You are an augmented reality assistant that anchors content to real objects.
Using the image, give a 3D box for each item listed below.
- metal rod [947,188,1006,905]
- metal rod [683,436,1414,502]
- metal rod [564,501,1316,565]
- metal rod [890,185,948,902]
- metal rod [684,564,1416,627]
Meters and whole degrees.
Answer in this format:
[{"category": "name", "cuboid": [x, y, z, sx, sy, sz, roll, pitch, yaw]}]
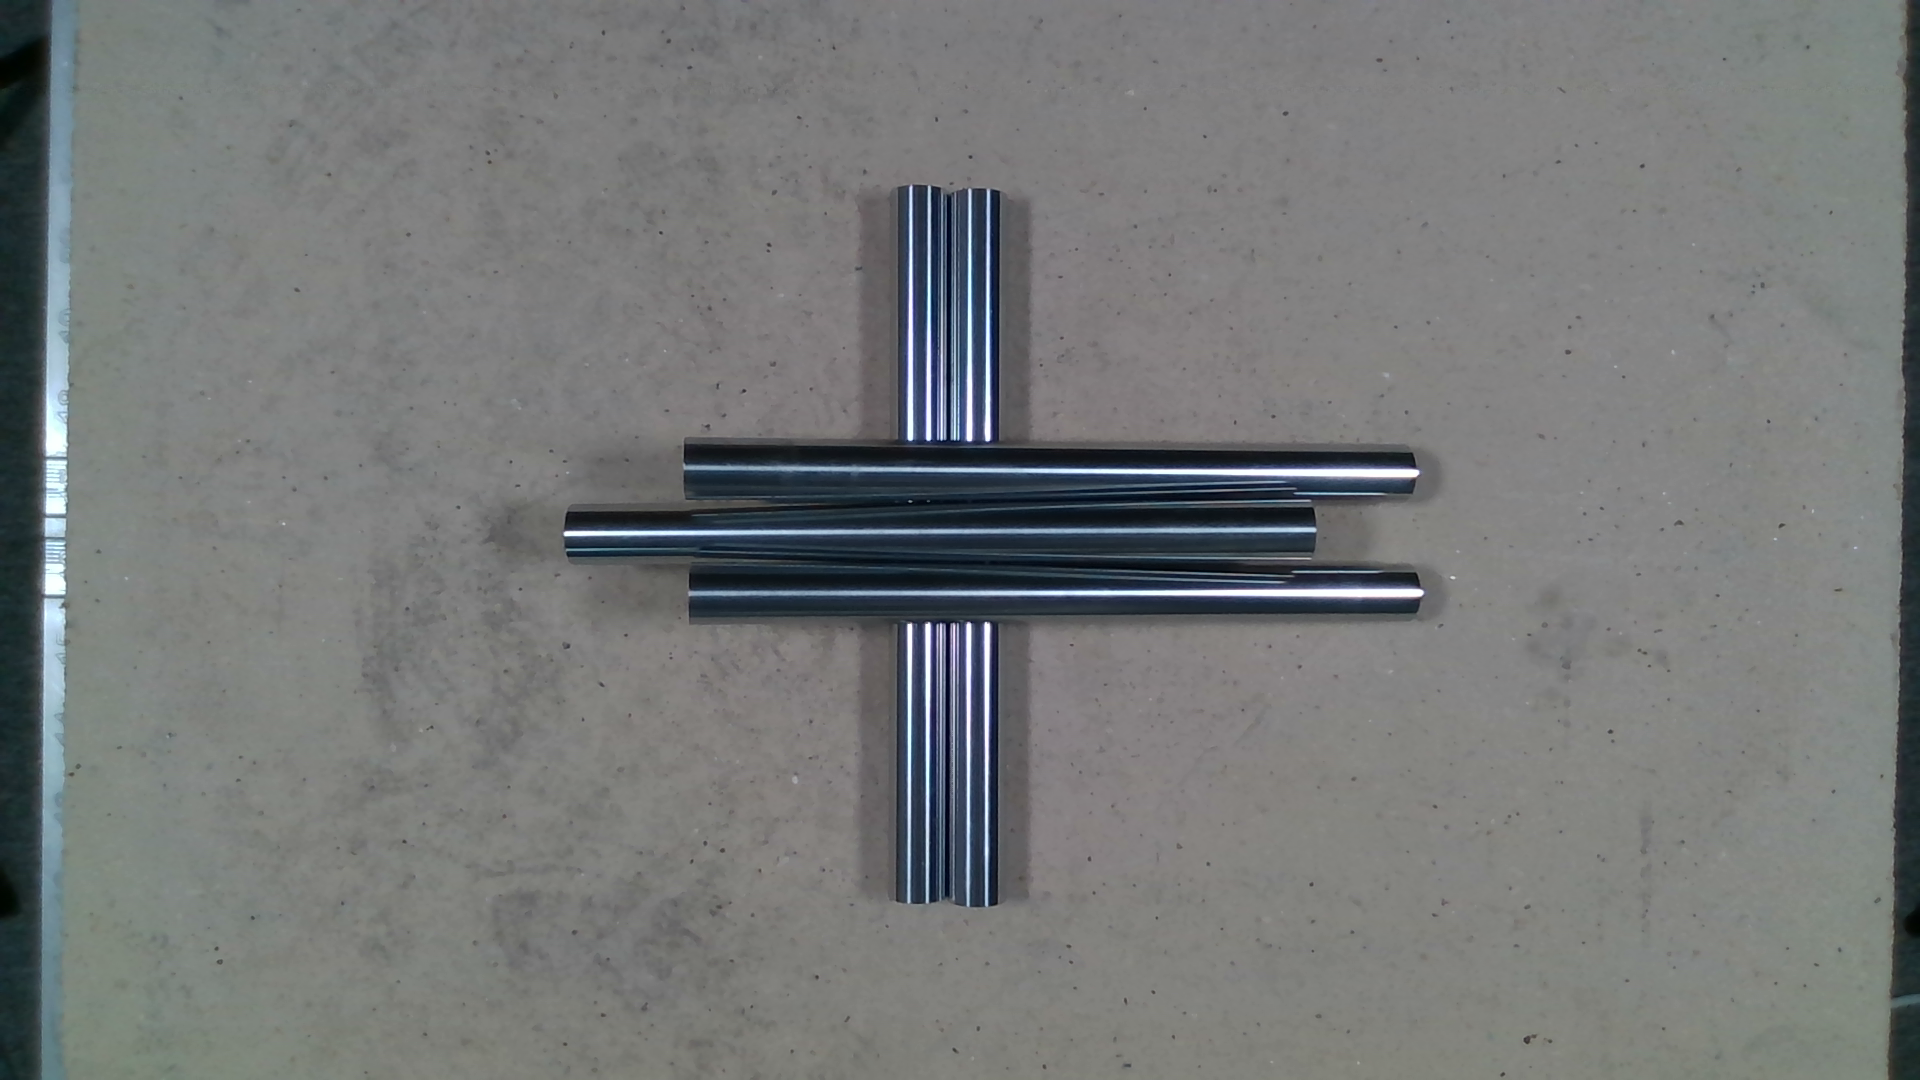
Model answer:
[{"category": "metal rod", "cuboid": [0.007, 0.003, 0.588, 0.025, 0.025, 0.300, 0, 91, 0]}, {"category": "metal rod", "cuboid": [0.040, -0.028, 0.566, 0.300, 0.025, 0.025, 0, 90, -8]}, {"category": "metal rod", "cuboid": [-0.008, -0.003, 0.561, 0.300, 0.025, 0.025, 0, 90, 0]}, {"category": "metal rod", "cuboid": [-0.018, 0.002, 0.588, 0.025, 0.025, 0.300, 0, 91, 0]}, {"category": "metal rod", "cuboid": [0.040, 0.023, 0.566, 0.300, 0.025, 0.025, 0, 90, -8]}]
